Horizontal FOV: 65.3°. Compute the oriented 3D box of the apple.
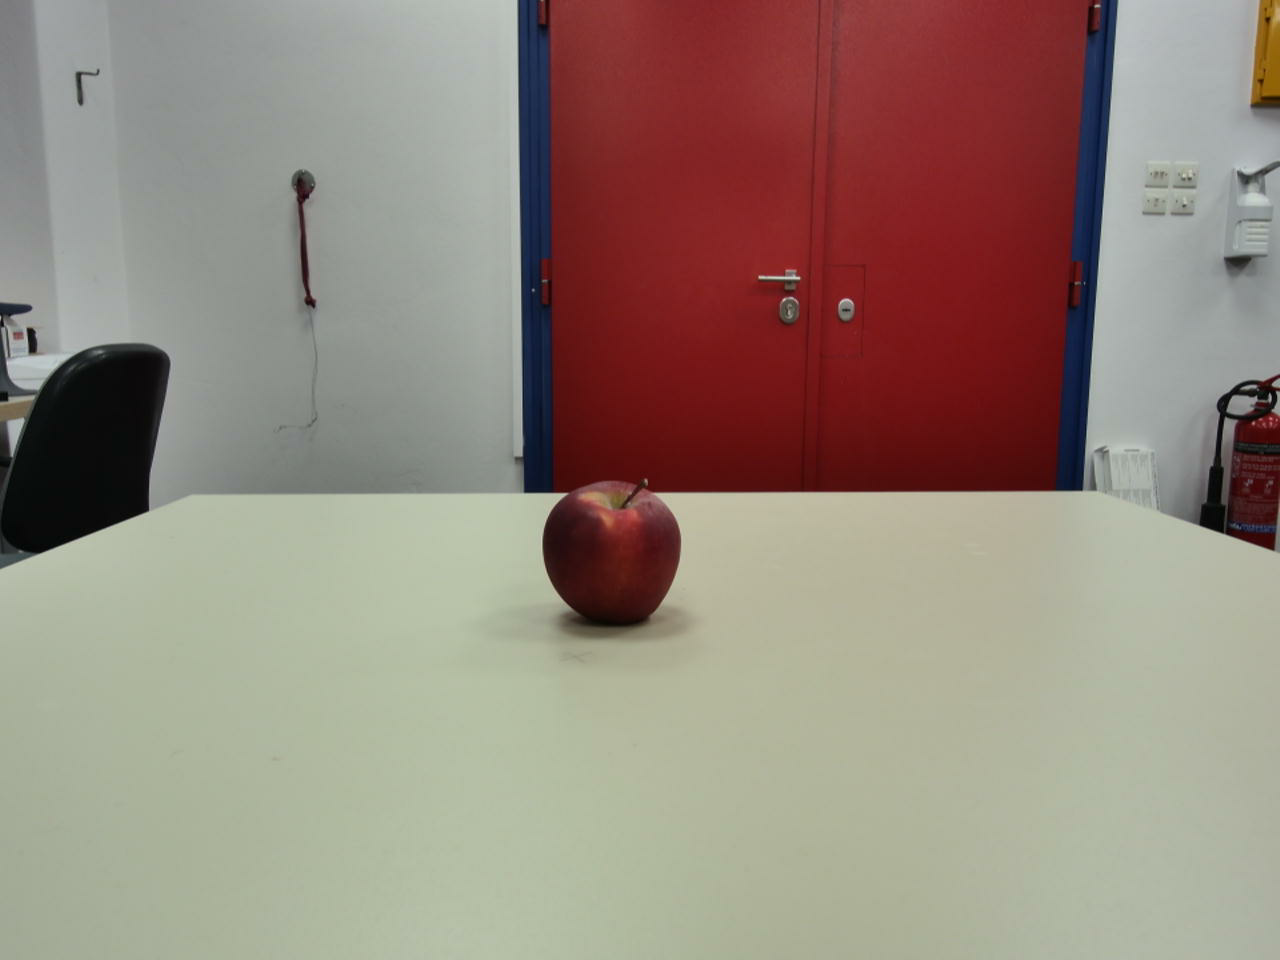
[{"bbox_3d":[-0.014,0.034,0.504,0.070,0.072,0.070,-1,7,0],"label":"apple"}]
